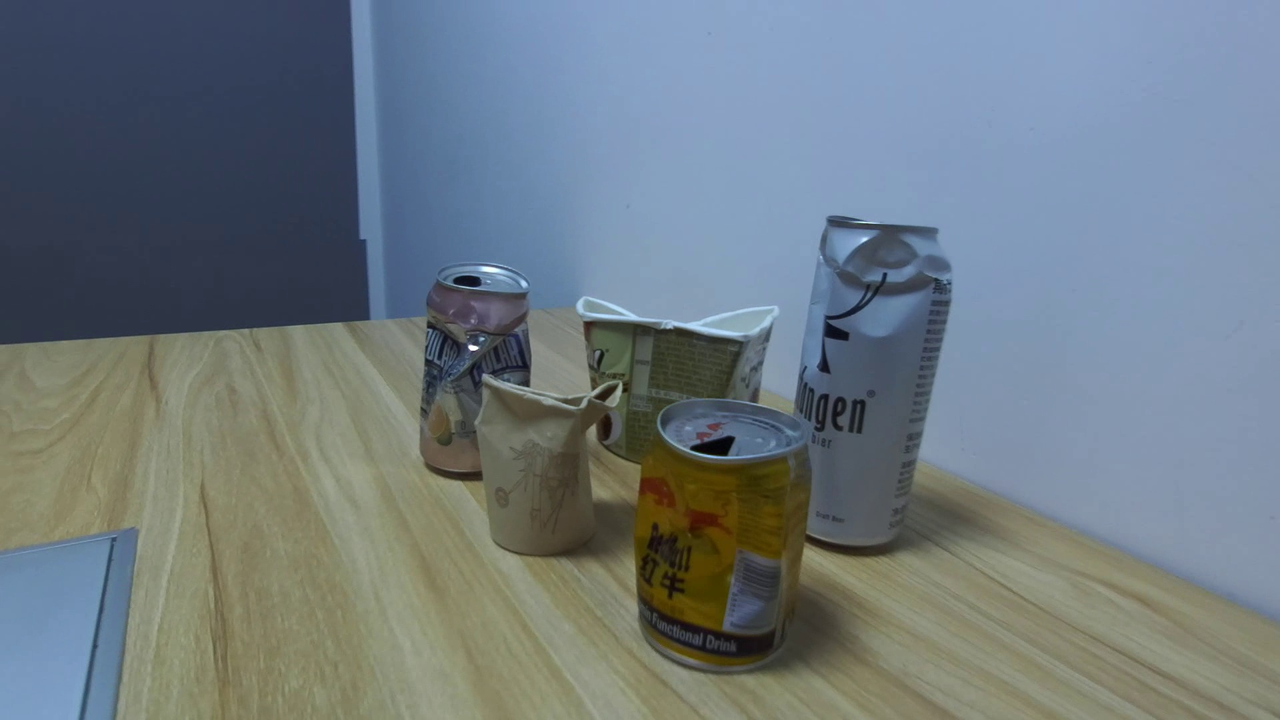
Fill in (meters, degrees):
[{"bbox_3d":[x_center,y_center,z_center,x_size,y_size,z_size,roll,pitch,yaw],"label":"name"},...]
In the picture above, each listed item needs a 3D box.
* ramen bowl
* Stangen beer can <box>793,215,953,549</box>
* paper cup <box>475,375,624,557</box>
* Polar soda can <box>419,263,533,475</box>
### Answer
[{"bbox_3d":[0.021,0.008,0.484,0.128,0.093,0.112,8,18,17],"label":"ramen bowl"},{"bbox_3d":[0.114,0.012,0.365,0.066,0.166,0.066,5,16,5],"label":"Stangen beer can"},{"bbox_3d":[-0.045,0.049,0.359,0.066,0.083,0.058,13,18,27],"label":"paper cup"},{"bbox_3d":[-0.097,0.008,0.431,0.067,0.121,0.070,2,15,-20],"label":"Polar soda can"}]
